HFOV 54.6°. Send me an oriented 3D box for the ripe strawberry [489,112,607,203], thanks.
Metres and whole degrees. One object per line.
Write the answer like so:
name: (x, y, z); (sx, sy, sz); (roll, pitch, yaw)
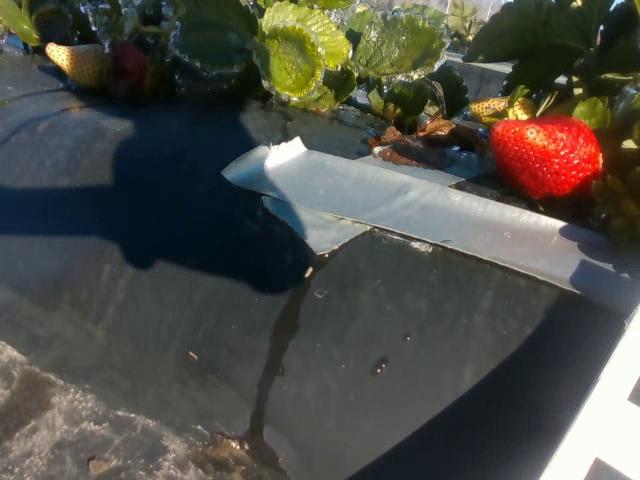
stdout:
ripe strawberry: (0.114, -0.045, 0.321); (0.065, 0.061, 0.057); (16, -51, -42)
